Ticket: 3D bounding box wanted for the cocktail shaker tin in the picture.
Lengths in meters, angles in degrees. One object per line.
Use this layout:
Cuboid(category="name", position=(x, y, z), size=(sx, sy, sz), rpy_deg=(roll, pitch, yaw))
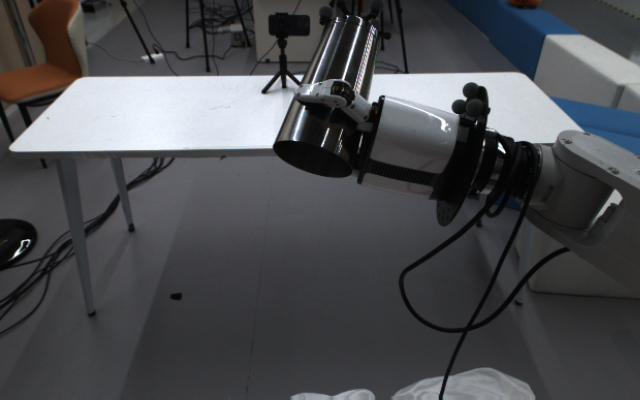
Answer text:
Cuboid(category="cocktail shaker tin", position=(0.016, -0.122, 0.556), size=(0.093, 0.093, 0.170), rpy_deg=(13, 73, 15))
